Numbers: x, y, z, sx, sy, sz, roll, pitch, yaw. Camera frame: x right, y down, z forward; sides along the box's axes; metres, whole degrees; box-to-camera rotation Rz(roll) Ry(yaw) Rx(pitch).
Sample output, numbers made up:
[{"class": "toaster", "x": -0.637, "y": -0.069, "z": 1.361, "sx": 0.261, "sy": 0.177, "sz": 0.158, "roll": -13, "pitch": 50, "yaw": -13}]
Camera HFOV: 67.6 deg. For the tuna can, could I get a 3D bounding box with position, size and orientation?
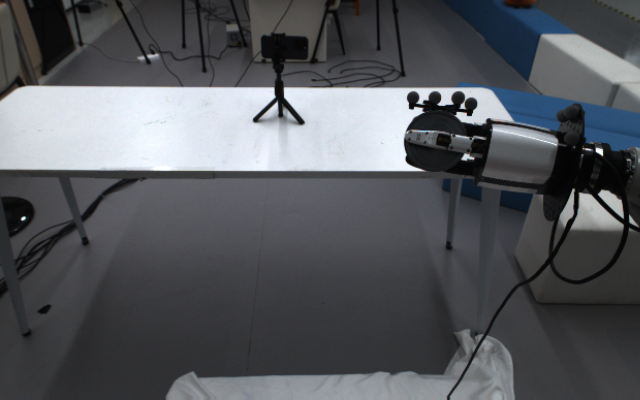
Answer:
[{"class": "tuna can", "x": 0.163, "y": -0.086, "z": 0.684, "sx": 0.085, "sy": 0.085, "sz": 0.034, "roll": 11, "pitch": 3, "yaw": 12}]
